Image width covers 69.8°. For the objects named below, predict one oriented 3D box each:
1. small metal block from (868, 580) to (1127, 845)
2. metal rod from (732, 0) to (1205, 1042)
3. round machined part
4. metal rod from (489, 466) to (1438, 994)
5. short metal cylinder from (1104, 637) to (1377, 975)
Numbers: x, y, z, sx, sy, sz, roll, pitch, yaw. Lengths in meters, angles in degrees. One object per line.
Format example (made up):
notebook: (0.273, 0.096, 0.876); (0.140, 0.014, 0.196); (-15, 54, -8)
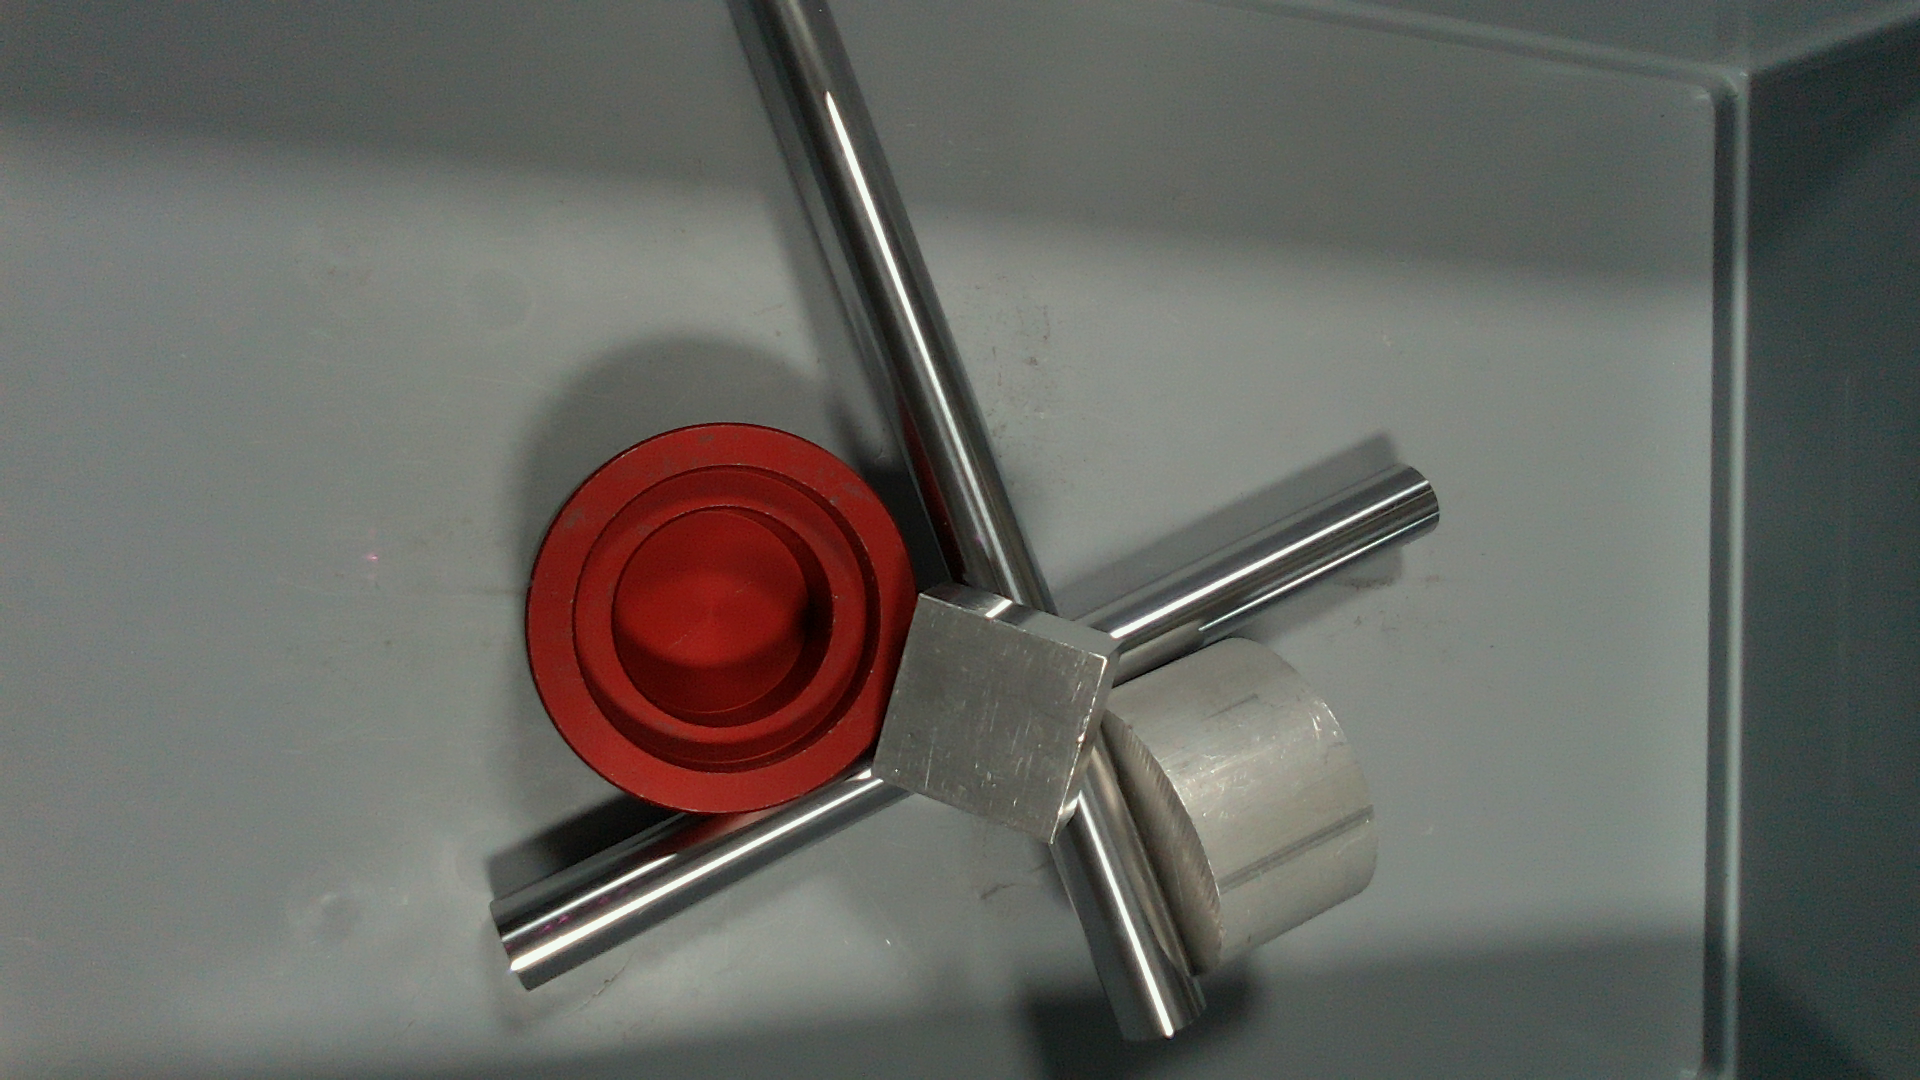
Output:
small metal block: (0.010, 0.043, 0.352); (0.050, 0.025, 0.050); (18, 102, 14)
metal rod: (0.002, -0.010, 0.374); (0.025, 0.025, 0.300); (-21, 90, -19)
round machined part: (-0.065, 0.019, 0.360); (0.098, 0.042, 0.098); (0, 90, -20)
metal rod: (0.015, 0.046, 0.398); (0.301, 0.025, 0.025); (-24, 98, -18)
short metal cylinder: (0.071, 0.074, 0.389); (0.050, 0.080, 0.080); (-21, 97, -19)
